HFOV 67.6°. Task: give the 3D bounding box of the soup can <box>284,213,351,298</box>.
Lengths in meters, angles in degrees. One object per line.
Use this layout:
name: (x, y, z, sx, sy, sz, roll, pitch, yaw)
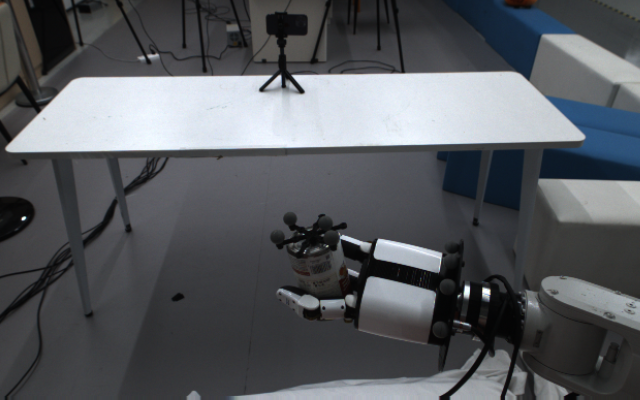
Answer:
soup can: (0.003, 0.091, 0.604, 0.067, 0.101, 0.067, -11, 27, 6)
